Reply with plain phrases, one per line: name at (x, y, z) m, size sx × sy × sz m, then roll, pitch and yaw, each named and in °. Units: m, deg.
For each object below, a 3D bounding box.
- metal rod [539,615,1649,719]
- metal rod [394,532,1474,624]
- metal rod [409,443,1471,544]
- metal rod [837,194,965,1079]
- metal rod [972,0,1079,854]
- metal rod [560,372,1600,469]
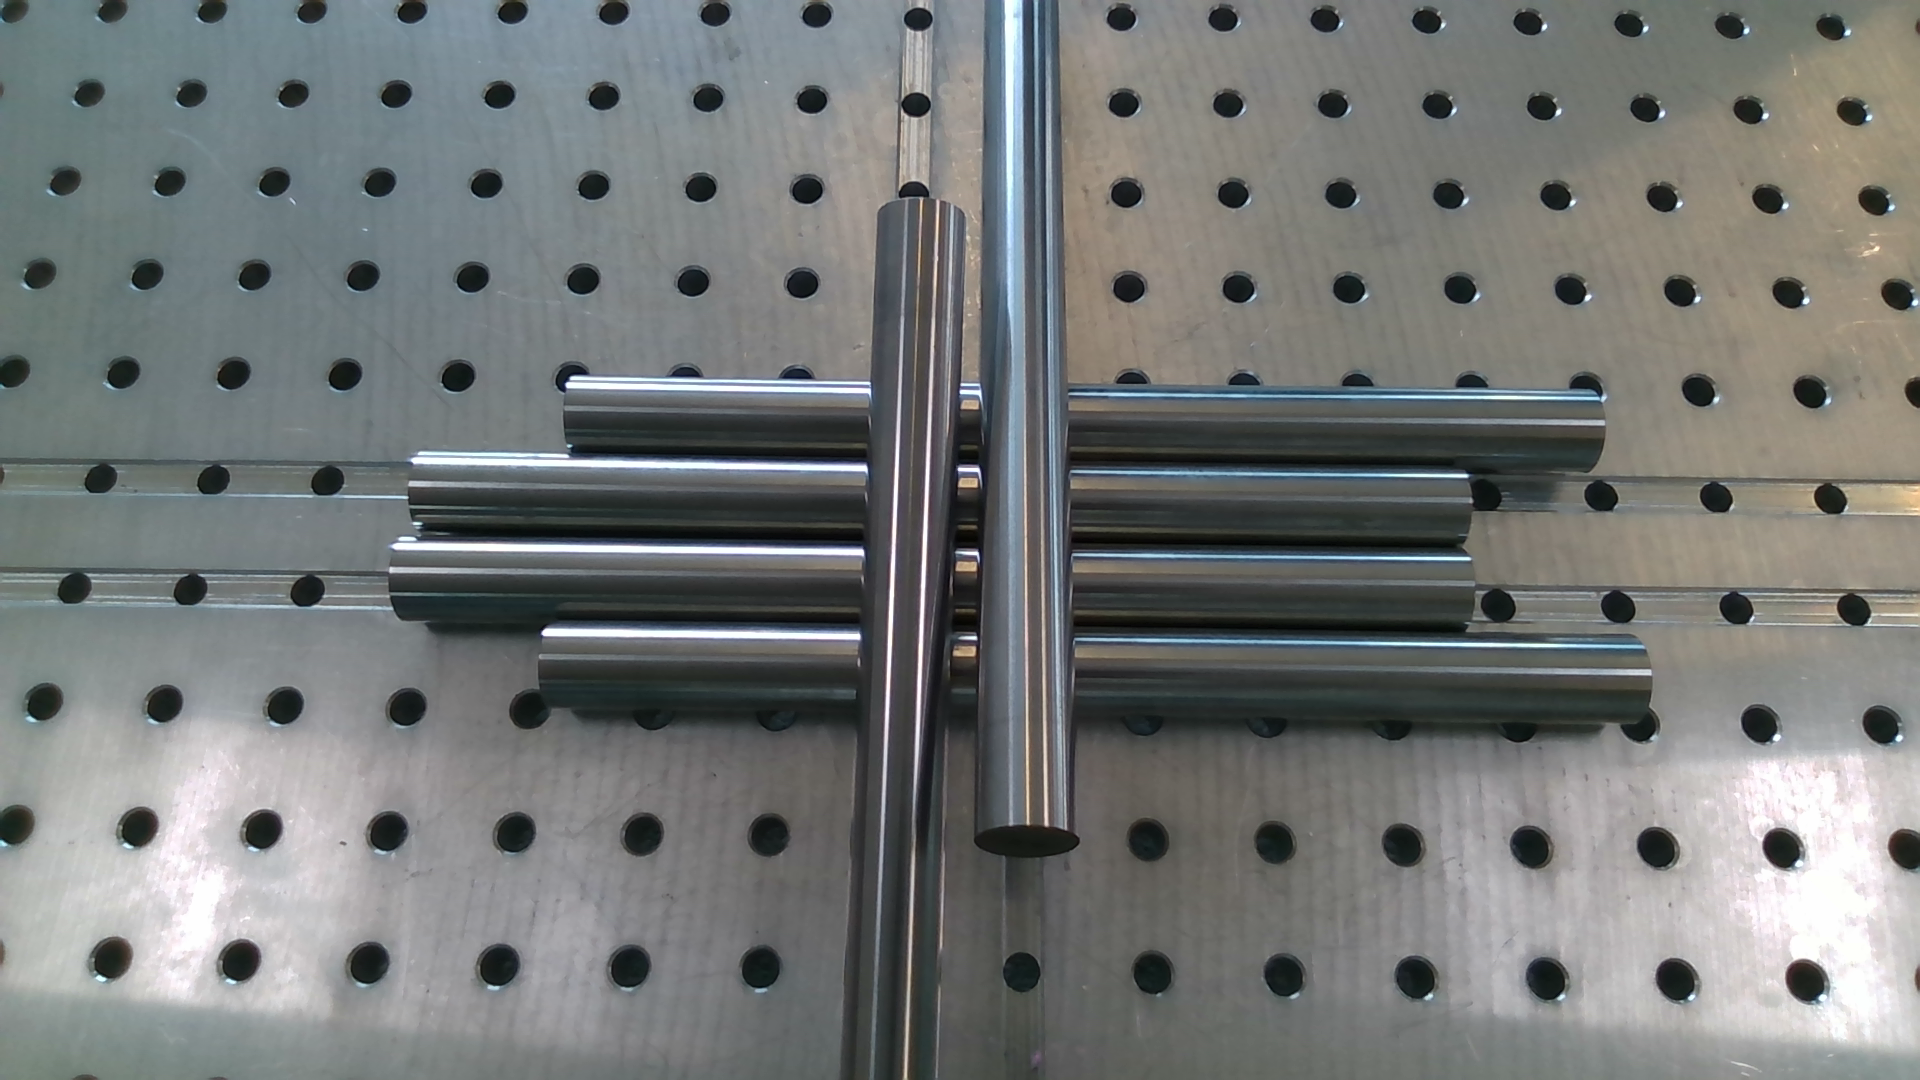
metal rod at (0.036, 0.036, 0.384) m, size 0.300 × 0.025 × 0.025 m, roll 1°, pitch 70°, yaw 0°
metal rod at (-0.007, 0.012, 0.395) m, size 0.300 × 0.025 × 0.025 m, roll 1°, pitch 70°, yaw 0°
metal rod at (-0.006, -0.013, 0.401) m, size 0.300 × 0.025 × 0.025 m, roll 1°, pitch 70°, yaw 0°
metal rod at (-0.016, 0.056, 0.356) m, size 0.025 × 0.025 × 0.299 m, roll 2°, pitch 79°, yaw 1°
metal rod at (0.018, -0.061, 0.395) m, size 0.025 × 0.025 × 0.299 m, roll 1°, pitch 61°, yaw 0°
metal rod at (0.035, -0.036, 0.410) m, size 0.300 × 0.025 × 0.025 m, roll 1°, pitch 70°, yaw 0°
